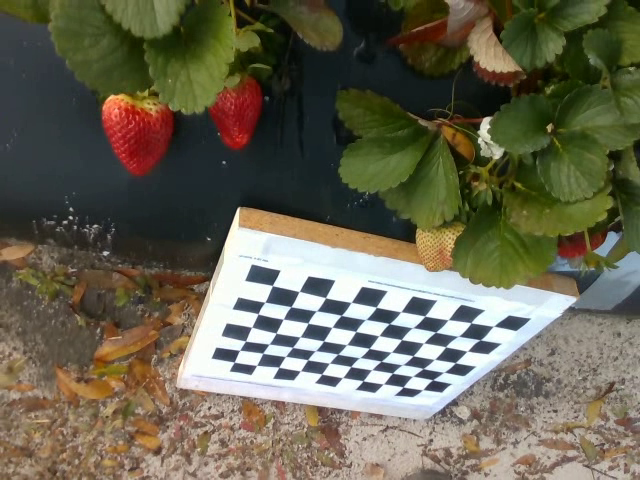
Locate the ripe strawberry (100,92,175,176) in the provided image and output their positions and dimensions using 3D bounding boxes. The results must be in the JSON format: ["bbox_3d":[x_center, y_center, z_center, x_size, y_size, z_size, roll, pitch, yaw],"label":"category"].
[{"bbox_3d":[-0.122,-0.069,0.405,0.050,0.061,0.045,8,13,-4],"label":"ripe strawberry"}]

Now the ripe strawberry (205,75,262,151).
[{"bbox_3d":[-0.058,-0.083,0.399,0.042,0.053,0.034,4,17,0],"label":"ripe strawberry"}]
